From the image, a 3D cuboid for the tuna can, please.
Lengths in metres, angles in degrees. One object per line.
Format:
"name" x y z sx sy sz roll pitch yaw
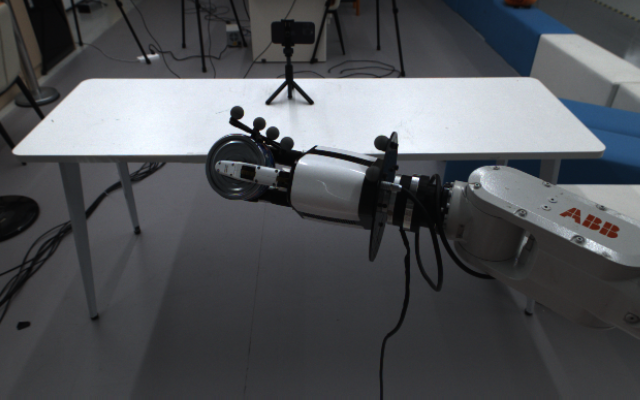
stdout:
"tuna can" -0.100 -0.036 0.623 0.085 0.085 0.034 12 4 14
